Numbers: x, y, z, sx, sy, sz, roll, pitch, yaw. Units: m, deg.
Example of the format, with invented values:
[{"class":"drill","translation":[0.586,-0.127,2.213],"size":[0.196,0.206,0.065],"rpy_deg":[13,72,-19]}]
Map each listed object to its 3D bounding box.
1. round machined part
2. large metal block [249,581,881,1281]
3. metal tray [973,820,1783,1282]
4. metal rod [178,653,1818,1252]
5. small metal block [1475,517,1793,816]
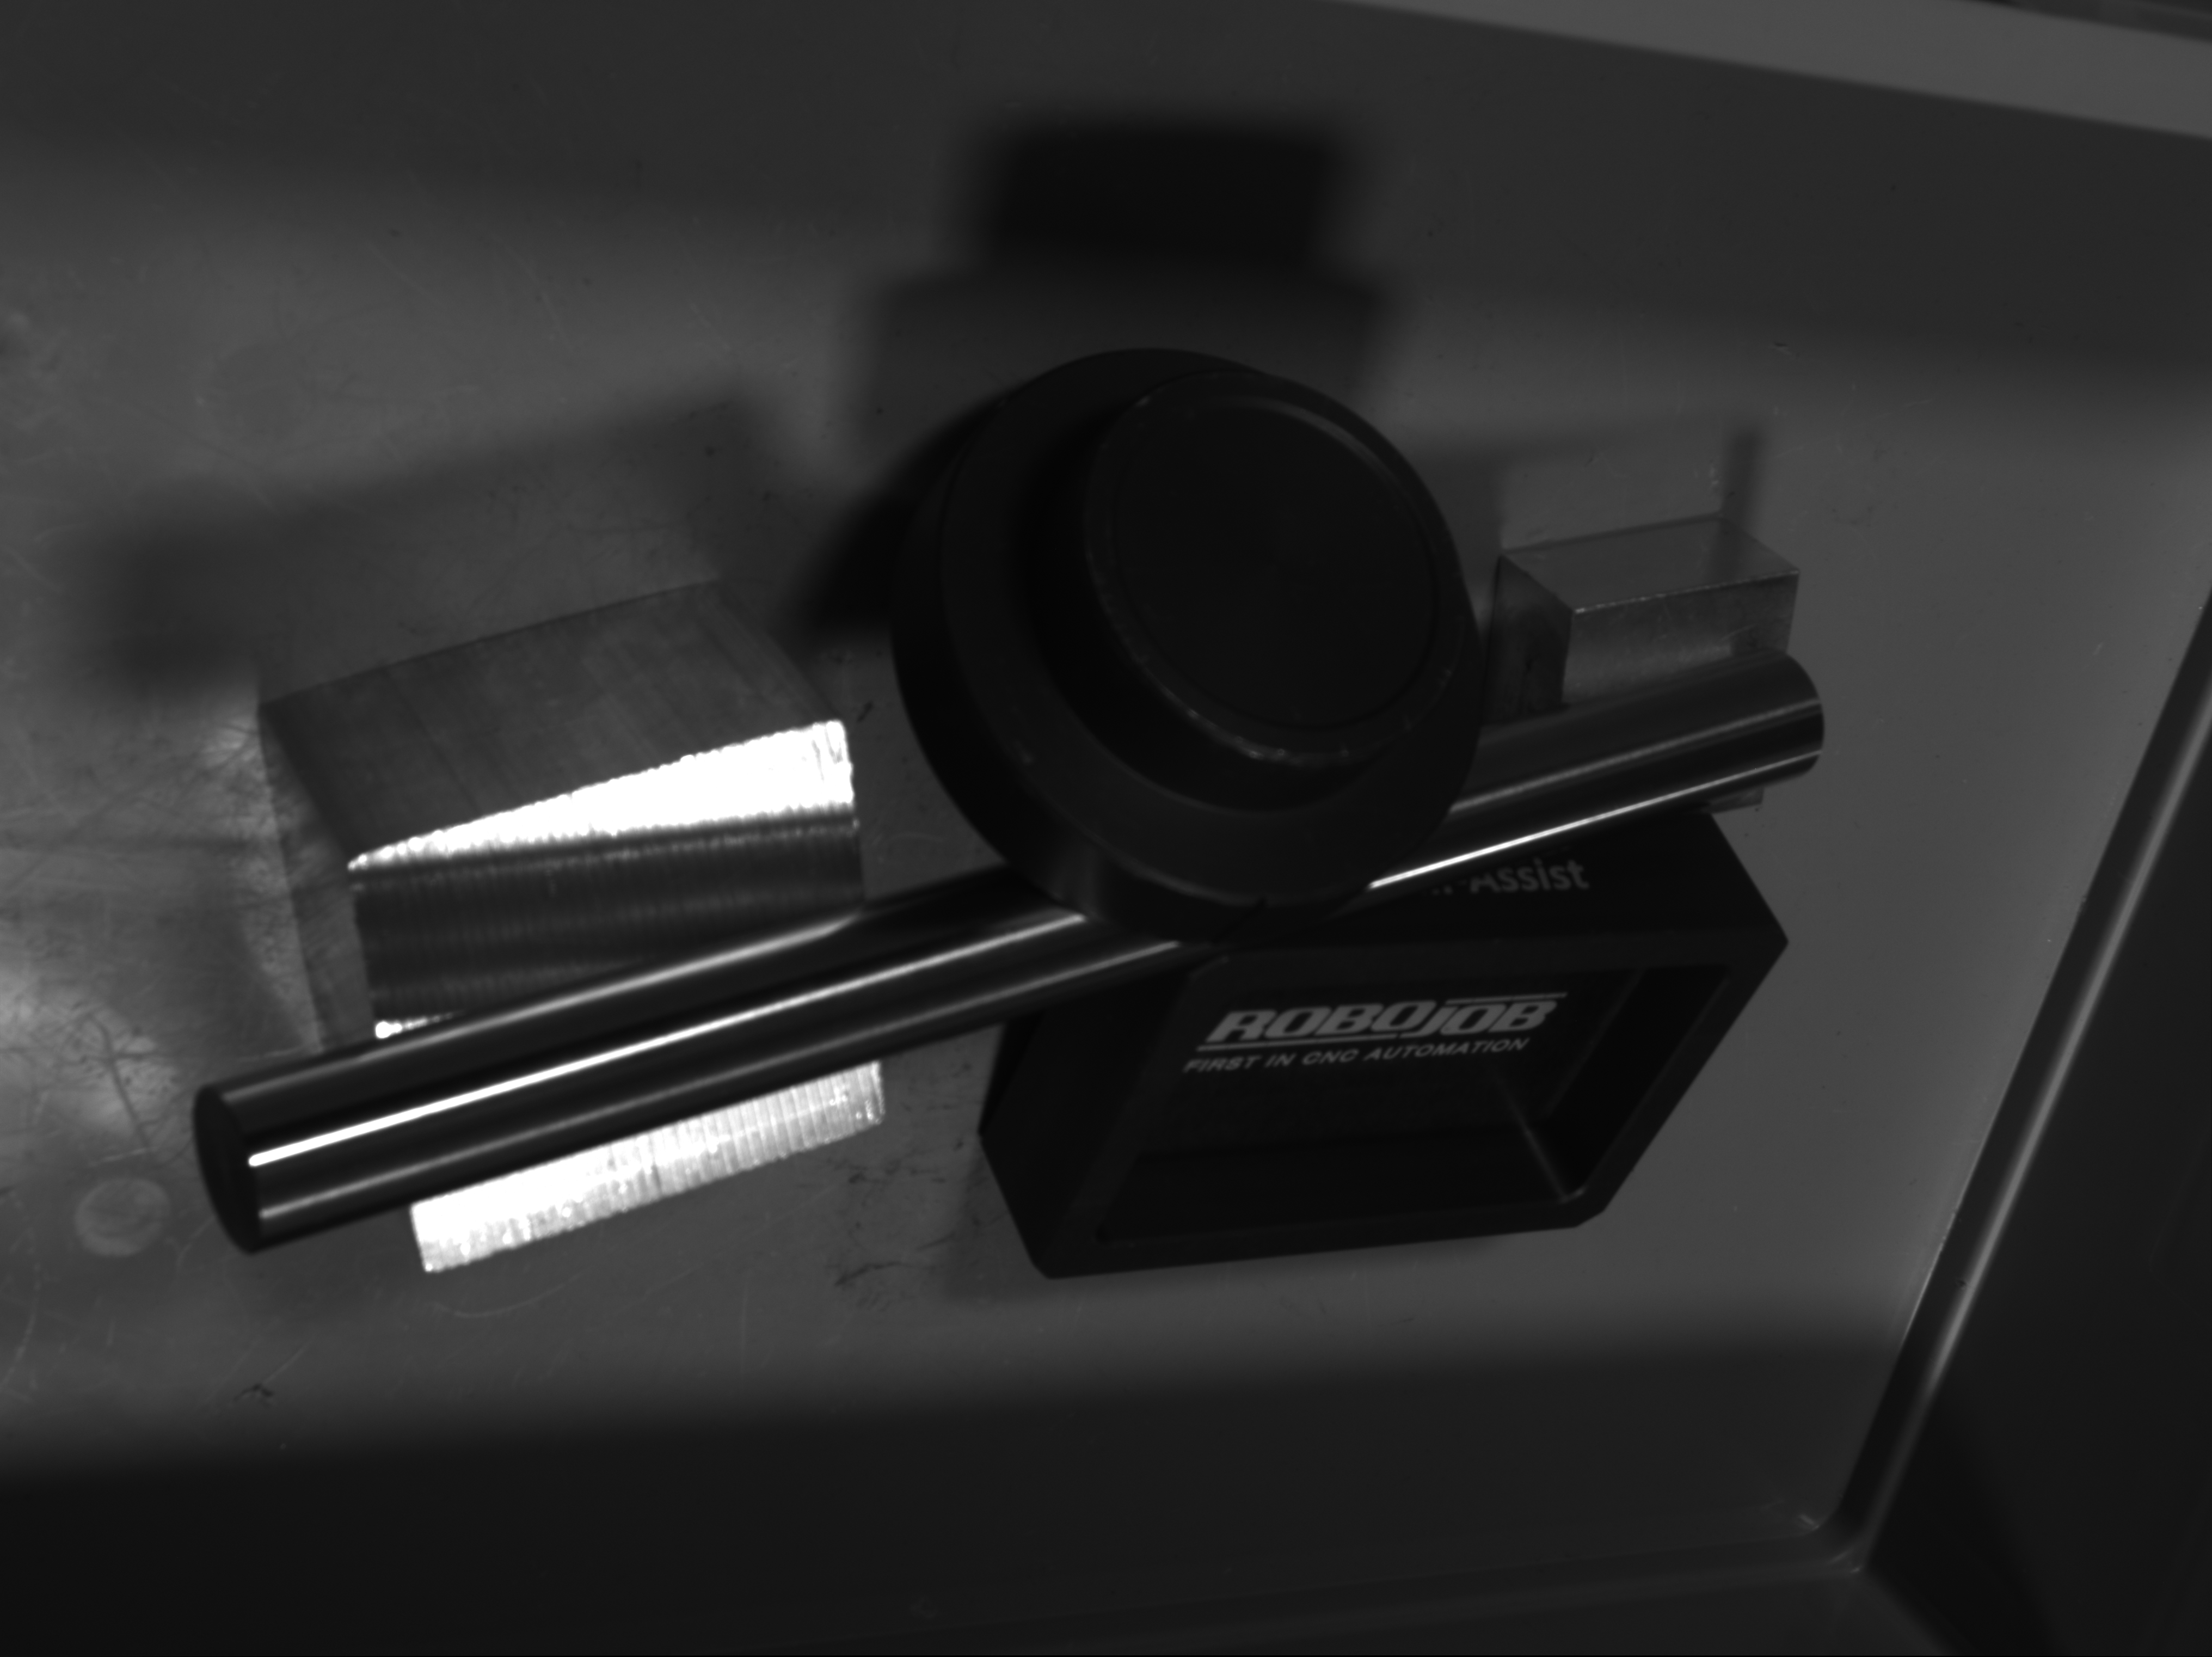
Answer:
[{"class":"round machined part","translation":[0.017,-0.033,0.588],"size":[0.098,0.098,0.042],"rpy_deg":[-4,161,-28]},{"class":"large metal block","translation":[-0.086,0.015,0.591],"size":[0.080,0.050,0.080],"rpy_deg":[-17,125,-21]},{"class":"metal tray","translation":[0.051,0.041,0.683],"size":[0.130,0.030,0.090],"rpy_deg":[-2,138,-30]},{"class":"metal rod","translation":[-0.003,0.014,0.598],"size":[0.301,0.025,0.025],"rpy_deg":[-15,125,-30]},{"class":"small metal block","translation":[0.098,-0.027,0.689],"size":[0.050,0.025,0.050],"rpy_deg":[-11,123,-24]}]
